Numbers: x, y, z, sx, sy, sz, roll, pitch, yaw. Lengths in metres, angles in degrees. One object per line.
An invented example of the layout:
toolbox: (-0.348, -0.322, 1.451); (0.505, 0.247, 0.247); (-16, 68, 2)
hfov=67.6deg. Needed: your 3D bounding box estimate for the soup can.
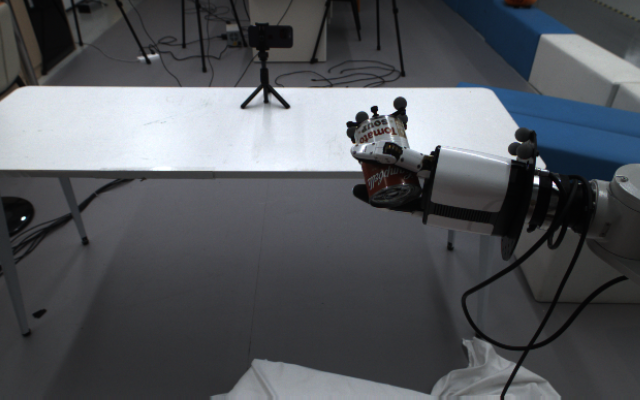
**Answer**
soup can: (0.088, -0.050, 0.625); (0.067, 0.067, 0.101); (-6, 68, -12)
